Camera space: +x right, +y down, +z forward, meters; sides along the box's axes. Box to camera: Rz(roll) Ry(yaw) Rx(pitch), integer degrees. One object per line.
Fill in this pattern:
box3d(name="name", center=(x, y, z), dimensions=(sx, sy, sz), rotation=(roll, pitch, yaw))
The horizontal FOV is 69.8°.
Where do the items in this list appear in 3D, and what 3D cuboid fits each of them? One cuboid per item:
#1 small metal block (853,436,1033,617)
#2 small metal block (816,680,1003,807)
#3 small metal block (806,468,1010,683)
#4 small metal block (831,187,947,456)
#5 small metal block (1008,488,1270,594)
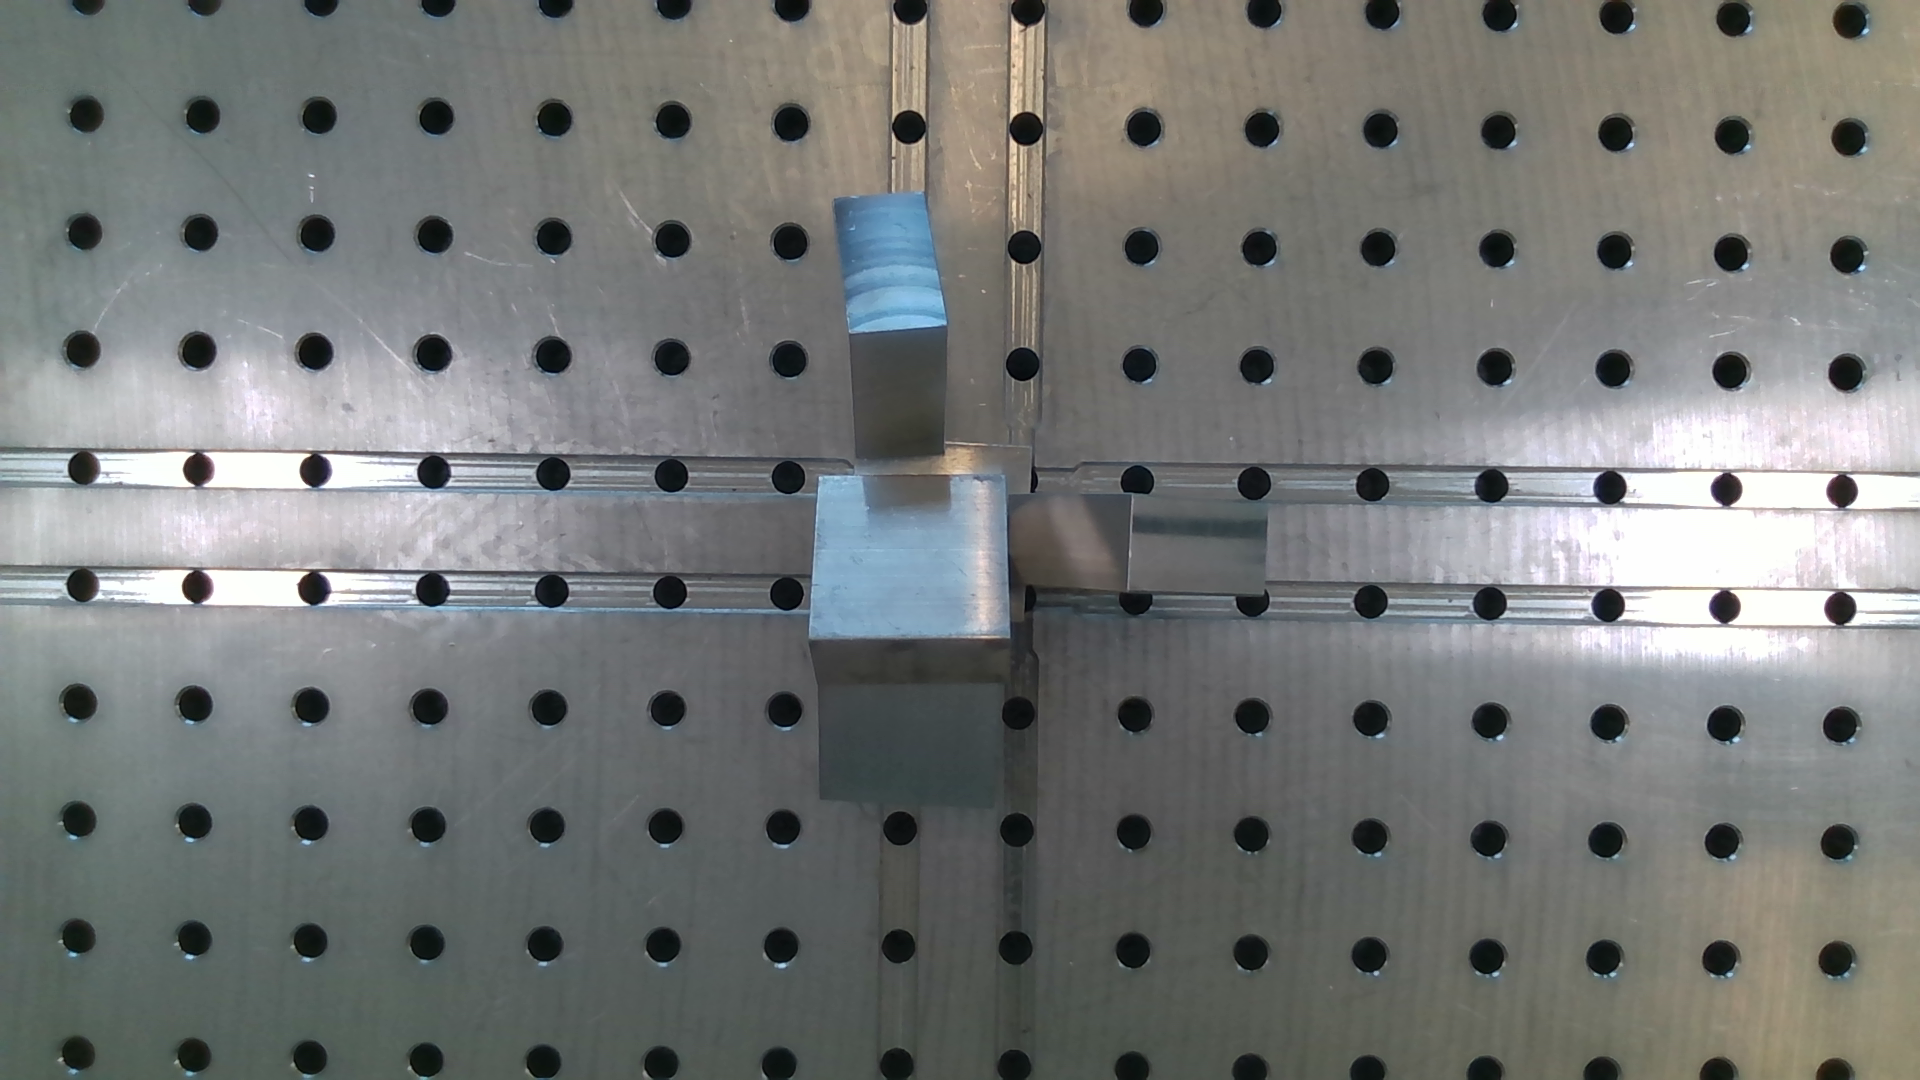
box3d(name="small metal block", center=(-0.006, -0.004, 0.398), dimensions=(0.050, 0.025, 0.050), rotation=(2, 90, 0))
box3d(name="small metal block", center=(-0.014, 0.047, 0.387), dimensions=(0.050, 0.025, 0.050), rotation=(3, 121, 0))
box3d(name="small metal block", center=(-0.013, 0.009, 0.361), dimensions=(0.050, 0.025, 0.050), rotation=(-1, 57, 0))
box3d(name="small metal block", center=(-0.020, -0.059, 0.375), dimensions=(0.025, 0.050, 0.050), rotation=(-5, 55, -6))
box3d(name="small metal block", center=(0.048, 0.000, 0.375), dimensions=(0.050, 0.050, 0.025), rotation=(3, 89, -36))
